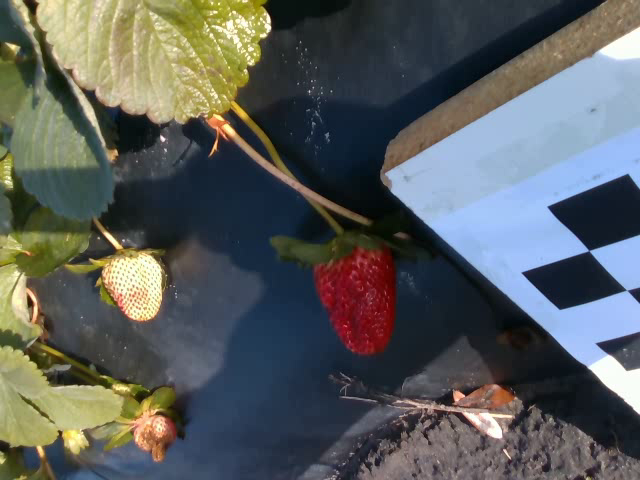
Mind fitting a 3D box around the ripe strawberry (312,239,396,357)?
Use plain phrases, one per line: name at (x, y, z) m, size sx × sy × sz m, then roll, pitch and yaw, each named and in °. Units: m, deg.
ripe strawberry at (0.005, 0.008, 0.098) m, size 0.016 × 0.023 × 0.015 m, roll -20°, pitch -11°, yaw 36°
